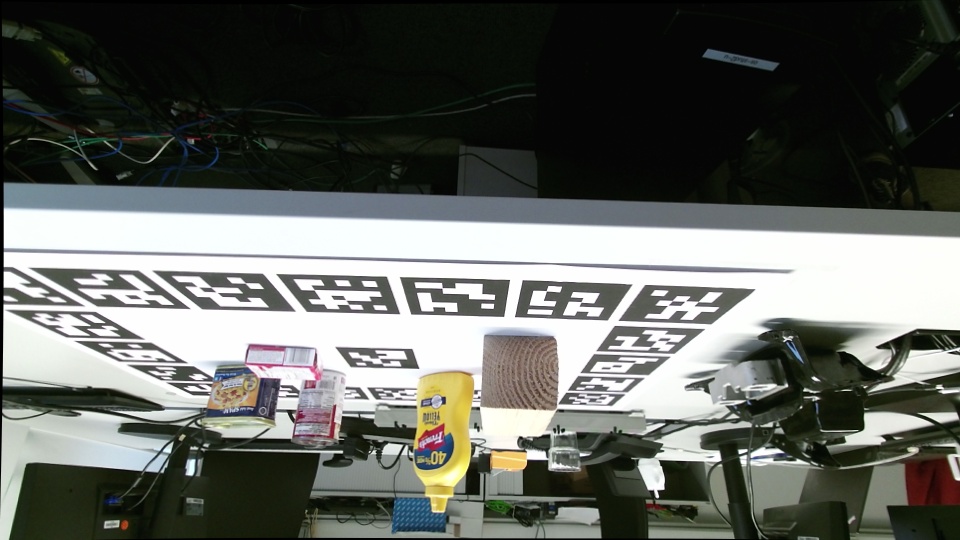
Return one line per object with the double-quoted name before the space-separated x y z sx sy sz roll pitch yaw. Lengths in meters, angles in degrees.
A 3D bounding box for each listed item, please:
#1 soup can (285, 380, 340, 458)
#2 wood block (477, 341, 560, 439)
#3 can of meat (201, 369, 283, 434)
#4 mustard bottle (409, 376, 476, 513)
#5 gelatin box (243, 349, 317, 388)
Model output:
"soup can" -0.251 0.225 0.808 0.068 0.101 0.068 1 151 0
"wood block" 0.044 0.169 0.716 0.091 0.089 0.206 4 156 0
"can of meat" -0.348 0.195 0.796 0.102 0.083 0.058 -3 151 14
"mustard bottle" -0.057 0.255 0.788 0.096 0.190 0.058 -10 151 23
"gelatin box" -0.269 0.134 0.723 0.090 0.030 0.073 5 150 -11
